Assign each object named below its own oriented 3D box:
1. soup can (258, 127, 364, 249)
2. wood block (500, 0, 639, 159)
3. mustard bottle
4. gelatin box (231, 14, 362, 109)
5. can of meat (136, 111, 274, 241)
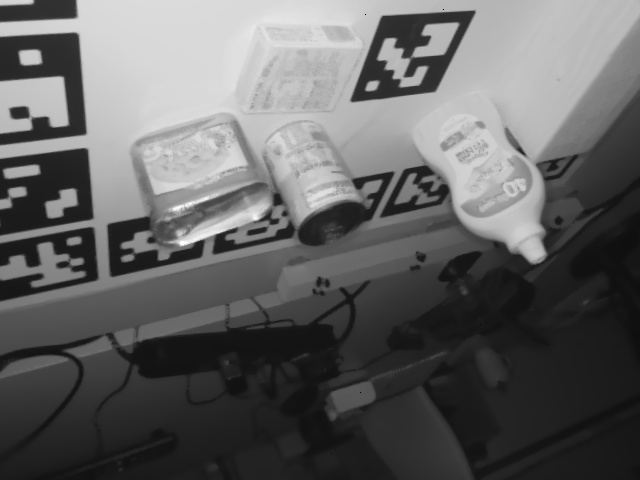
[{"bbox_3d":[-0.010,-0.048,0.646,0.068,0.102,0.067,-20,148,-12],"label":"soup can"},{"bbox_3d":[0.273,-0.180,0.684,0.092,0.090,0.203,-10,151,-22],"label":"wood block"},{"bbox_3d":[0.180,-0.064,0.703,0.096,0.191,0.058,-24,151,0],"label":"mustard bottle"},{"bbox_3d":[-0.021,-0.144,0.568,0.091,0.030,0.072,-7,144,-33],"label":"gelatin box"},{"bbox_3d":[-0.102,-0.057,0.599,0.102,0.084,0.057,-17,149,-10],"label":"can of meat"}]
